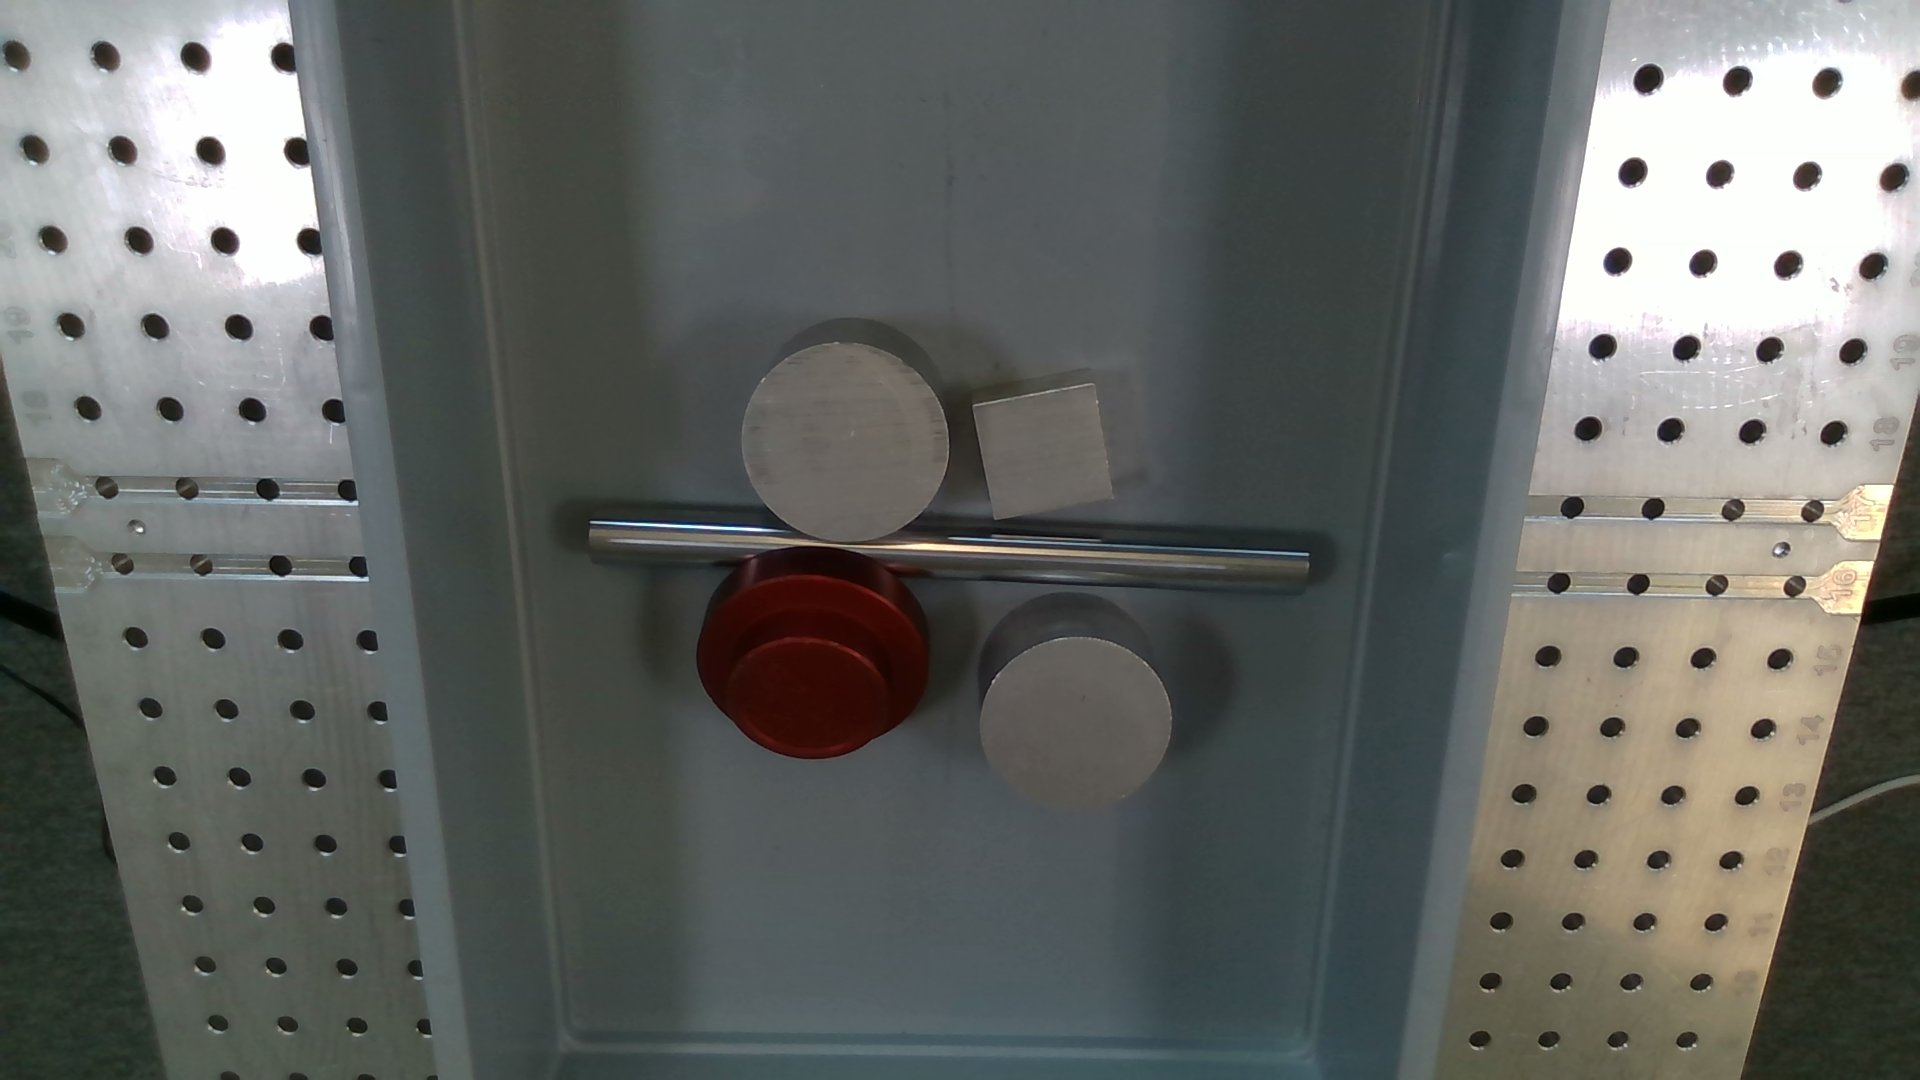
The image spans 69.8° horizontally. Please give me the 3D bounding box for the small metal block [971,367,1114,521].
[{"bbox_3d":[0.034,-0.040,0.568,0.050,0.025,0.050,-11,110,4],"label":"small metal block"}]

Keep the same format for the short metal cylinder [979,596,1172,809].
[{"bbox_3d":[0.048,0.068,0.595,0.080,0.050,0.080,0,110,0],"label":"short metal cylinder"}]

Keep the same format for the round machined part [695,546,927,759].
[{"bbox_3d":[-0.063,0.054,0.582,0.098,0.042,0.098,0,126,0],"label":"round machined part"}]

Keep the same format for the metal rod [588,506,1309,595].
[{"bbox_3d":[-0.004,0.004,0.585,0.300,0.025,0.025,3,110,-1],"label":"metal rod"}]

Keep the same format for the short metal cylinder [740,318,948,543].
[{"bbox_3d":[-0.044,-0.045,0.553,0.080,0.050,0.080,0,110,0],"label":"short metal cylinder"}]
